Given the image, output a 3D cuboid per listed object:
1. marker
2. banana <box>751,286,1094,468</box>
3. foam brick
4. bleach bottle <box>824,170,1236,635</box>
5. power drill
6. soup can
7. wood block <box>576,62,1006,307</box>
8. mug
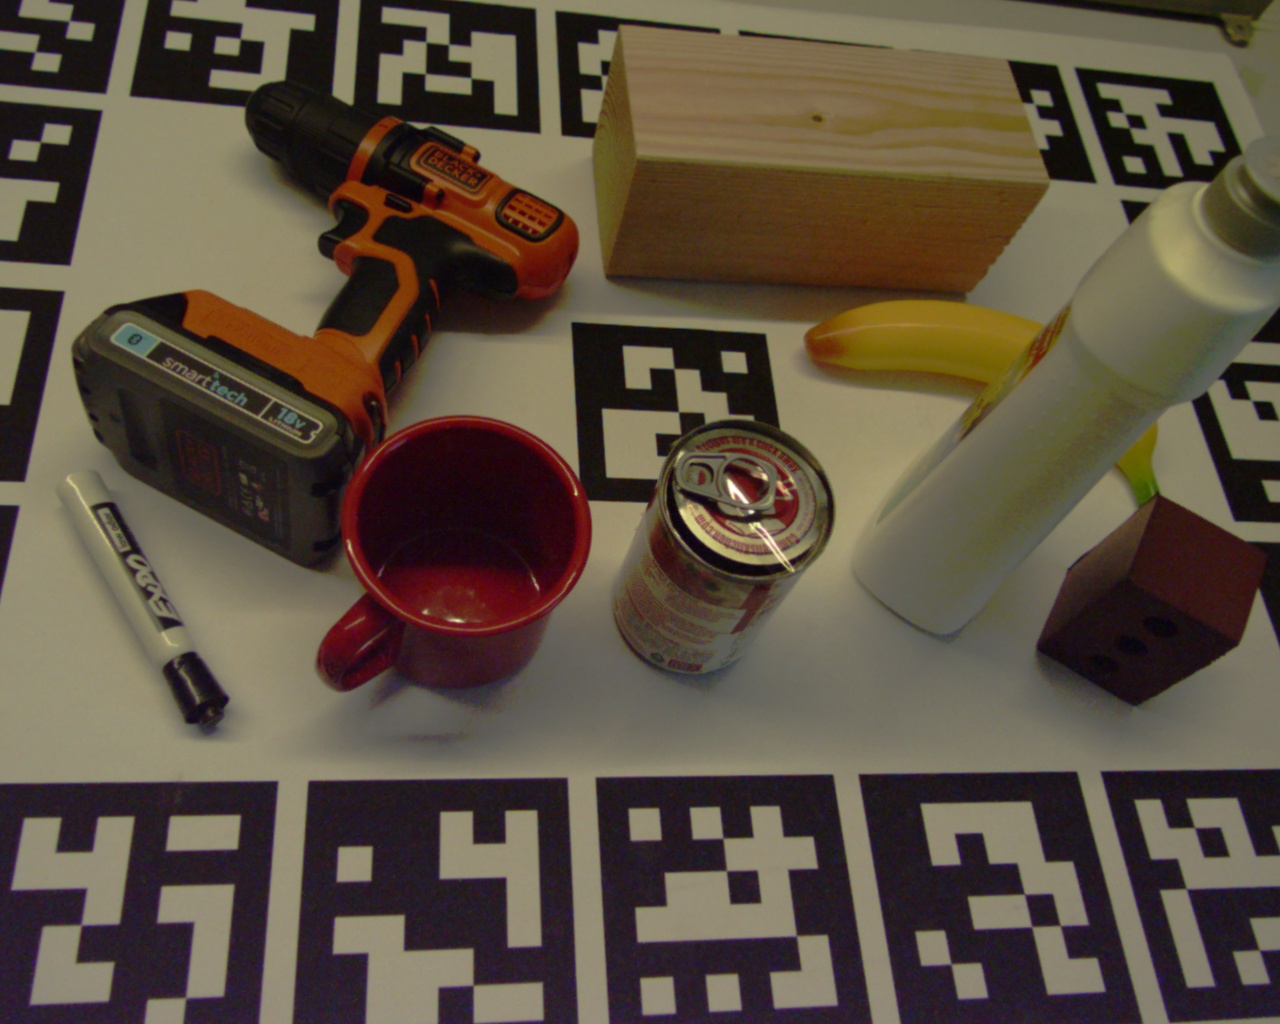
[{"bbox_3d":[-0.207,0.040,0.484,0.019,0.019,0.122,-28,71,-22],"label":"marker"},{"bbox_3d":[0.157,-0.084,0.614,0.197,0.039,0.074,16,73,-5],"label":"banana"},{"bbox_3d":[0.216,0.041,0.539,0.053,0.078,0.051,30,57,7],"label":"foam brick"},{"bbox_3d":[0.154,-0.043,0.470,0.068,0.251,0.102,27,58,3],"label":"bleach bottle"},{"bbox_3d":[-0.150,-0.098,0.555,0.184,0.057,0.186,28,58,0],"label":"power drill"},{"bbox_3d":[0.021,0.014,0.489,0.067,0.102,0.068,7,56,-11],"label":"soup can"},{"bbox_3d":[0.075,-0.174,0.622,0.205,0.091,0.090,0,63,-12],"label":"wood block"},{"bbox_3d":[-0.087,0.024,0.479,0.093,0.081,0.116,40,64,8],"label":"mug"}]
